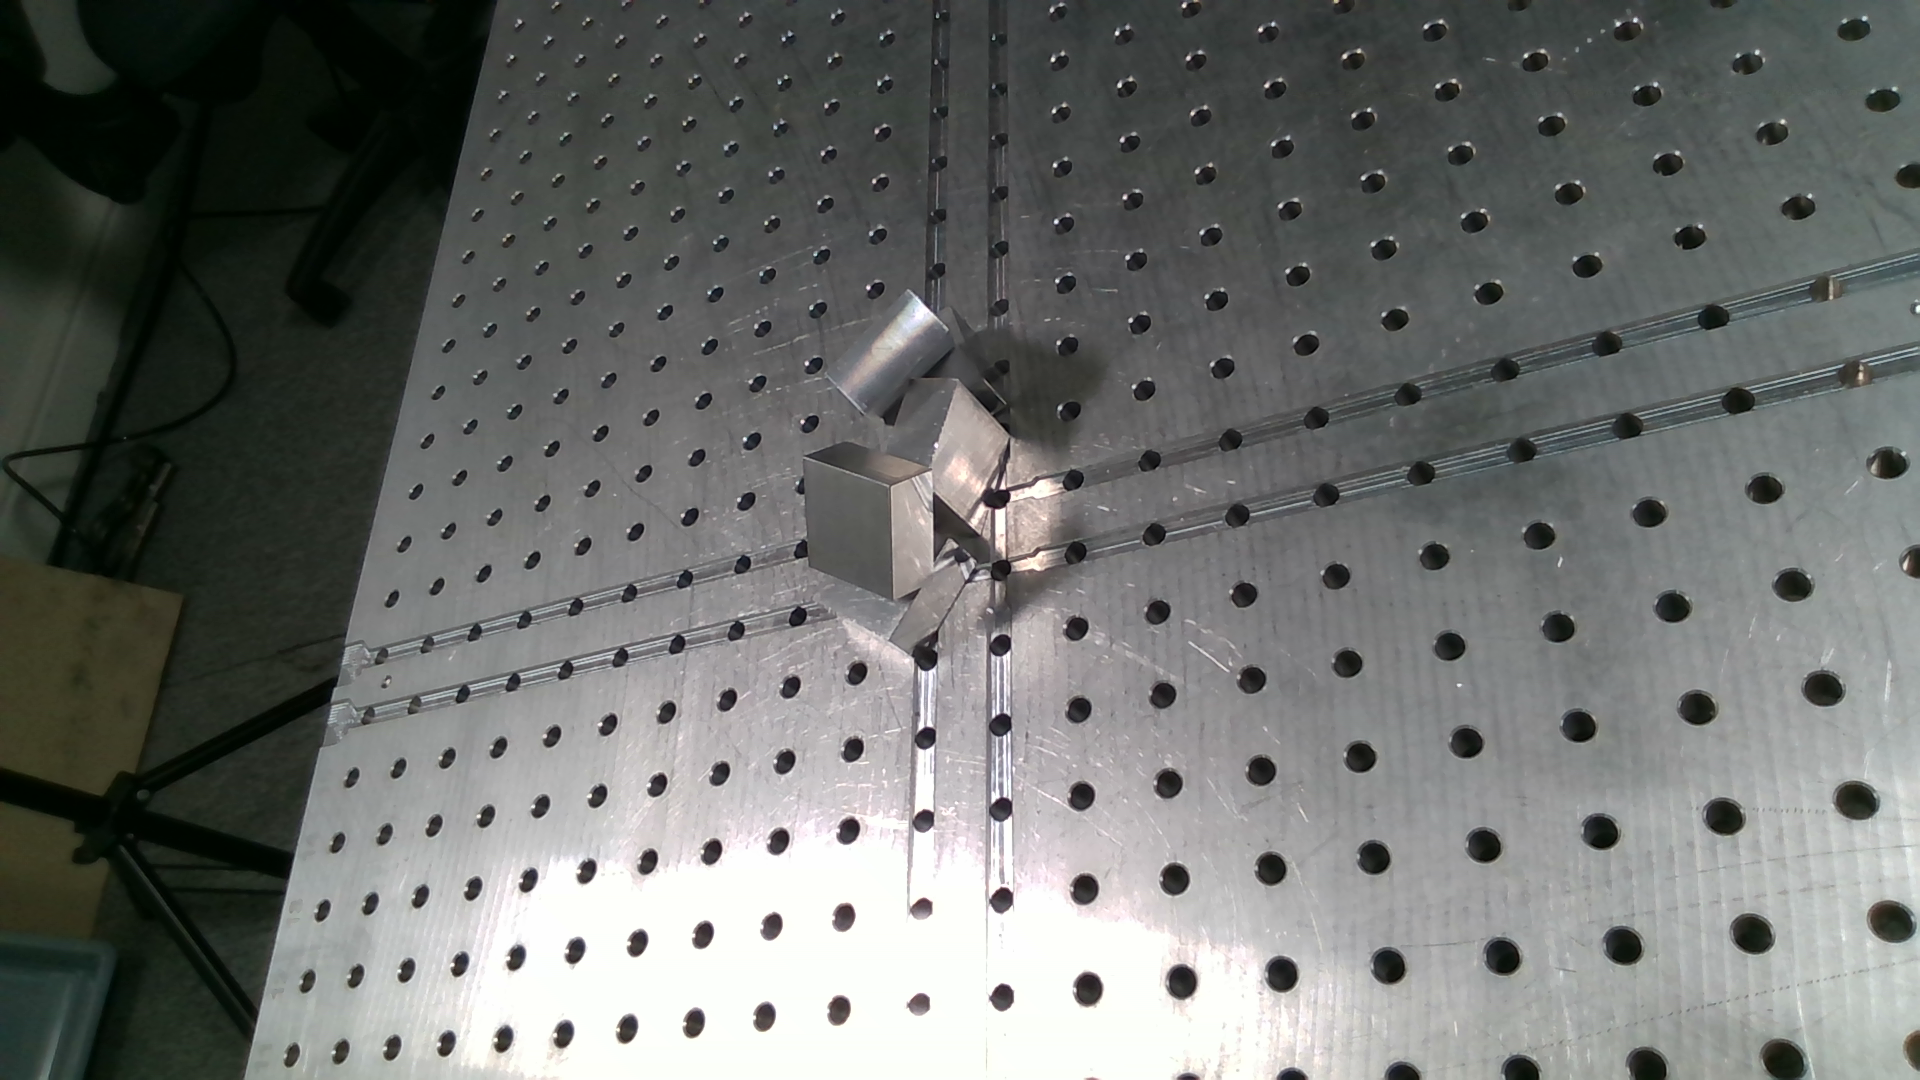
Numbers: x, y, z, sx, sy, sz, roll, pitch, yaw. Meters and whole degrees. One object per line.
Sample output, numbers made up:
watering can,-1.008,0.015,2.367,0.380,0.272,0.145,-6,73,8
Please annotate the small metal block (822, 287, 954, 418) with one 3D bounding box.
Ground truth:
small metal block,-0.030,-0.079,0.597,0.050,0.050,0.025,-45,89,3

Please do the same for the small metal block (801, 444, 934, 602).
small metal block,-0.038,-0.009,0.566,0.050,0.025,0.050,19,121,37

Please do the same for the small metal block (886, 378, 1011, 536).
small metal block,-0.006,-0.036,0.595,0.025,0.050,0.050,5,68,33

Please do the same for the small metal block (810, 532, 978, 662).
small metal block,-0.029,0.017,0.597,0.050,0.025,0.050,25,80,38

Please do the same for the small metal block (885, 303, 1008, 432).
small metal block,-0.012,-0.072,0.635,0.050,0.025,0.050,-32,53,14
